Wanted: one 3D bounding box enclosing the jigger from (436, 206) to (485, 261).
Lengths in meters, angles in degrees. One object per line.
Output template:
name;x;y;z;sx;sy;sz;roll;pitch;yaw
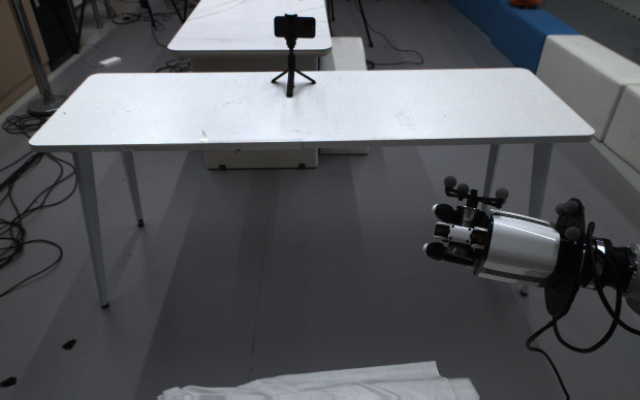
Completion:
jigger;0.205;0.045;0.676;0.043;0.071;0.043;16;-7;2
